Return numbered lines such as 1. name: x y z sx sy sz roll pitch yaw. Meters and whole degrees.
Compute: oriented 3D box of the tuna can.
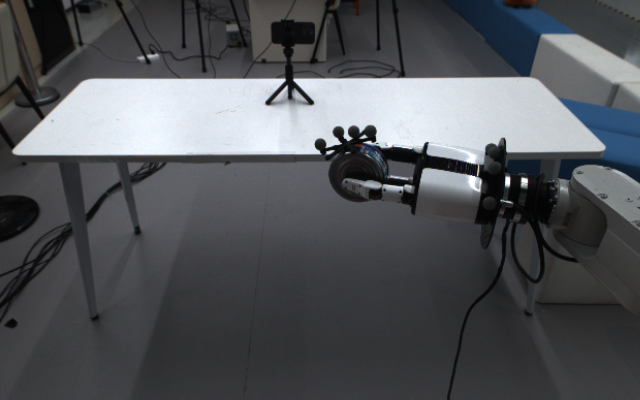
1. tuna can: 0.061 -0.034 0.717 0.085 0.085 0.034 11 34 13
